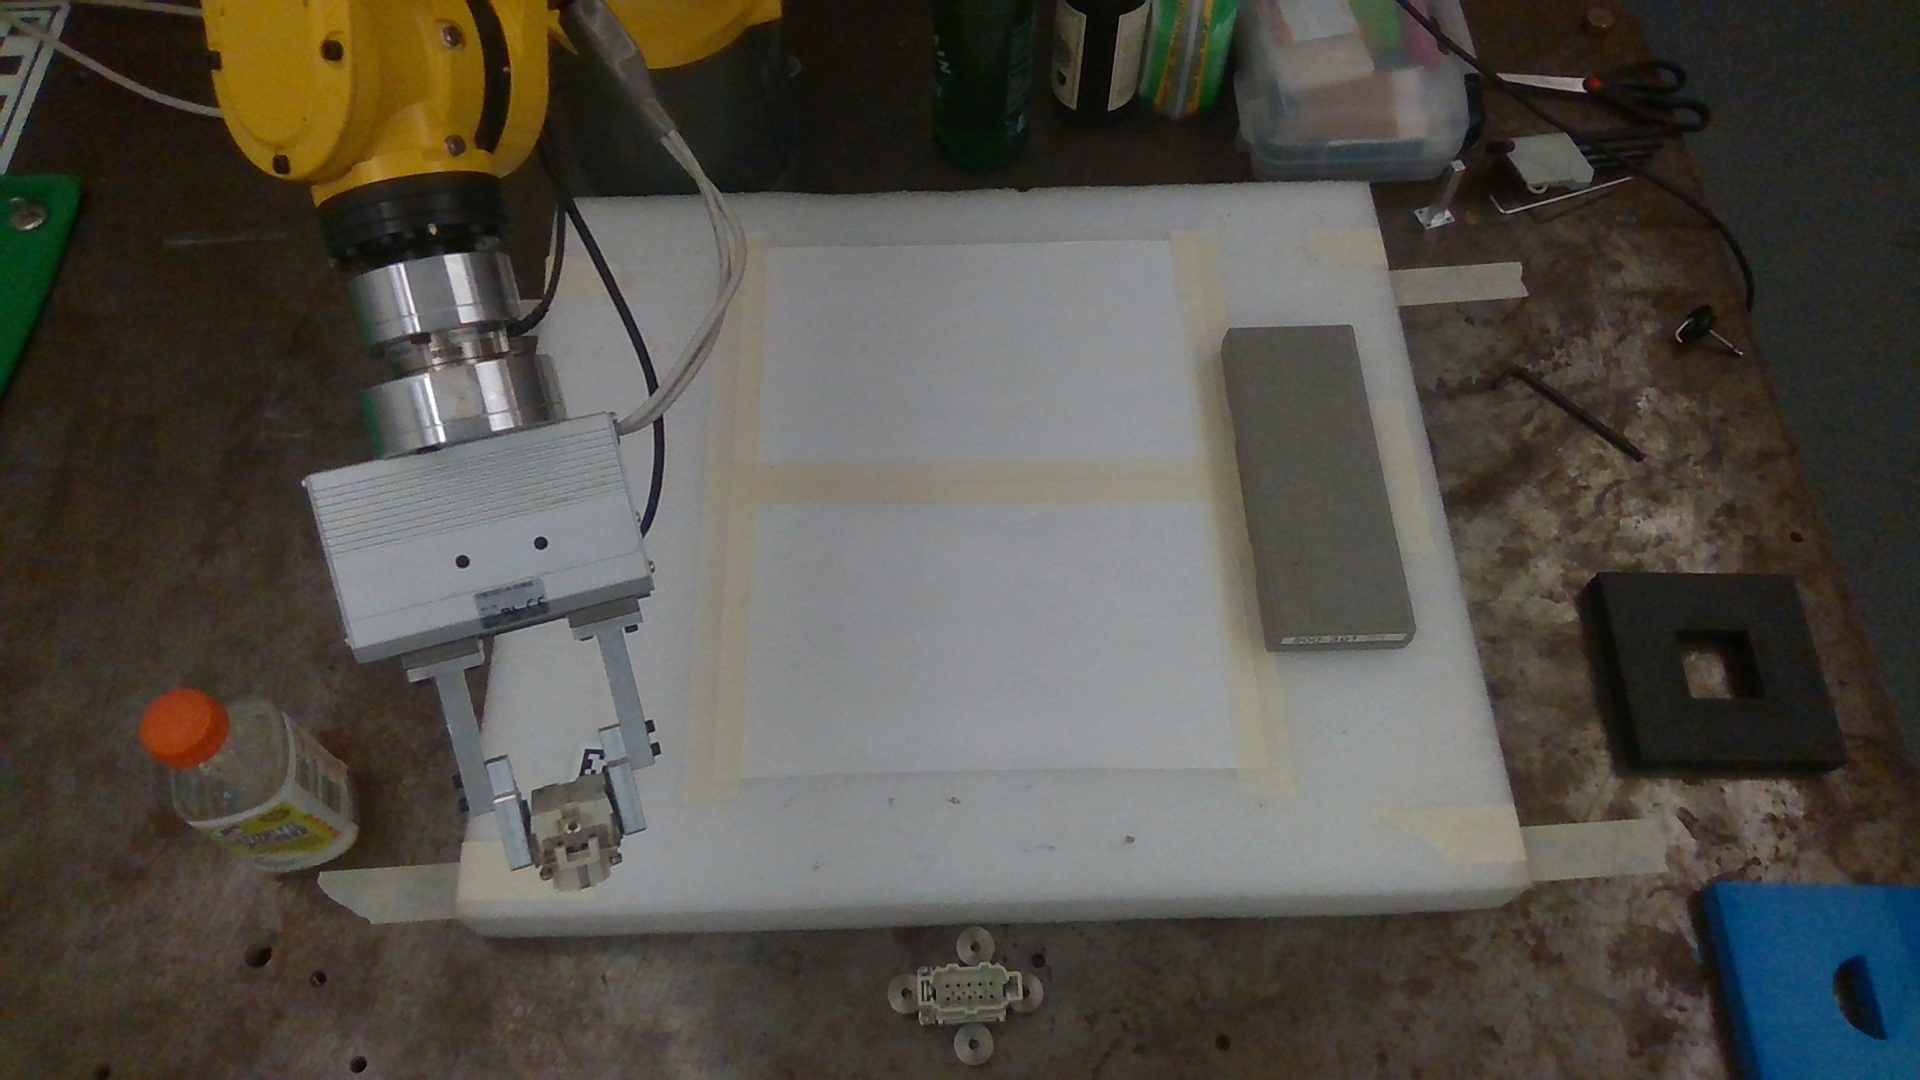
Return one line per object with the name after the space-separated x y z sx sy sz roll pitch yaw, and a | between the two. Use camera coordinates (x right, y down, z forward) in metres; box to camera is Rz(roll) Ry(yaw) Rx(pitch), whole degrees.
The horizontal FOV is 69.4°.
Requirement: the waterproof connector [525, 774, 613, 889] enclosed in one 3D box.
-0.183 0.138 0.657 0.036 0.069 0.038 -15 98 -12 | waterproof connector
